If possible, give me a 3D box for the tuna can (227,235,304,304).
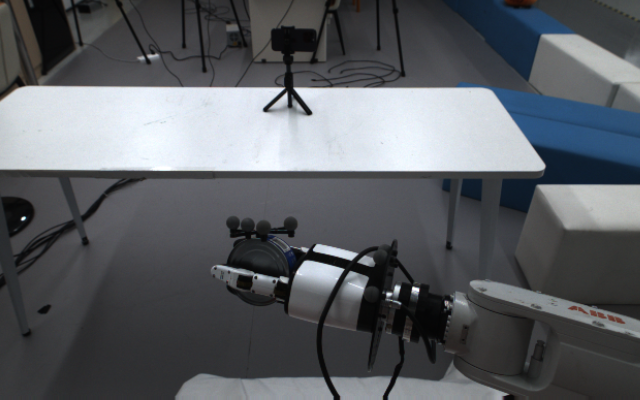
[{"bbox_3d":[-0.070,0.087,0.608,0.085,0.085,0.034,15,10,18],"label":"tuna can"}]
